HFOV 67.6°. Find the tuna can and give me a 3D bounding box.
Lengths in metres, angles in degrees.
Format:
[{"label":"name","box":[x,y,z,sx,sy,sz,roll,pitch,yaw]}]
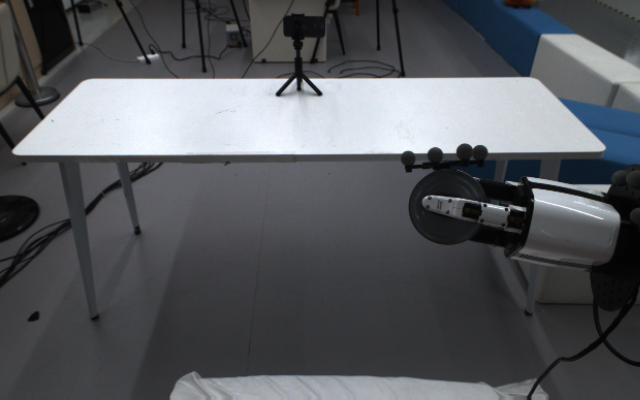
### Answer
[{"label":"tuna can","box":[0.147,0.006,0.556,0.085,0.085,0.034,11,1,12]}]
